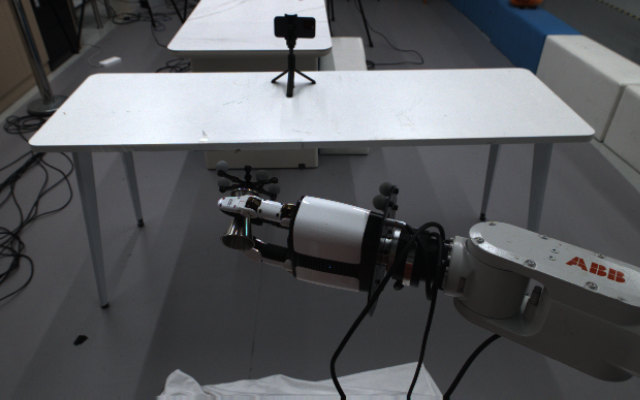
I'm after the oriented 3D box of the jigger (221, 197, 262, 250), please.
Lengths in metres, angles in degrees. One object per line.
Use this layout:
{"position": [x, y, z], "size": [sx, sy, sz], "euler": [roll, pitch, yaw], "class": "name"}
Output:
{"position": [-0.101, 0.022, 0.618], "size": [0.043, 0.043, 0.071], "euler": [4, 60, 2], "class": "jigger"}
